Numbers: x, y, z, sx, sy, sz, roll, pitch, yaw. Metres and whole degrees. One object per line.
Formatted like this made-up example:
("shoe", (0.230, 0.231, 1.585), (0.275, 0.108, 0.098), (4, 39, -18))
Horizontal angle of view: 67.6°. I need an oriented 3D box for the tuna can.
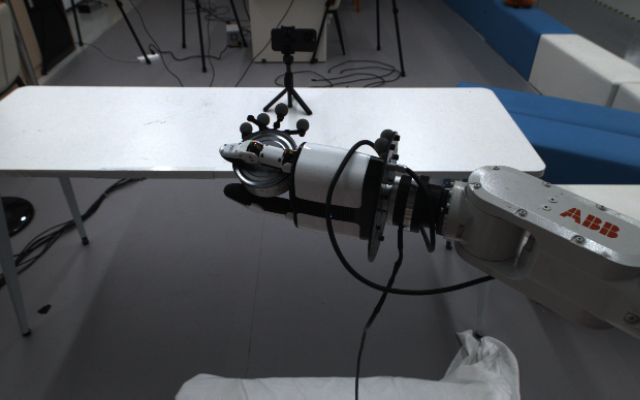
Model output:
("tuna can", (-0.067, -0.046, 0.625), (0.085, 0.034, 0.085), (-6, 61, 10))
